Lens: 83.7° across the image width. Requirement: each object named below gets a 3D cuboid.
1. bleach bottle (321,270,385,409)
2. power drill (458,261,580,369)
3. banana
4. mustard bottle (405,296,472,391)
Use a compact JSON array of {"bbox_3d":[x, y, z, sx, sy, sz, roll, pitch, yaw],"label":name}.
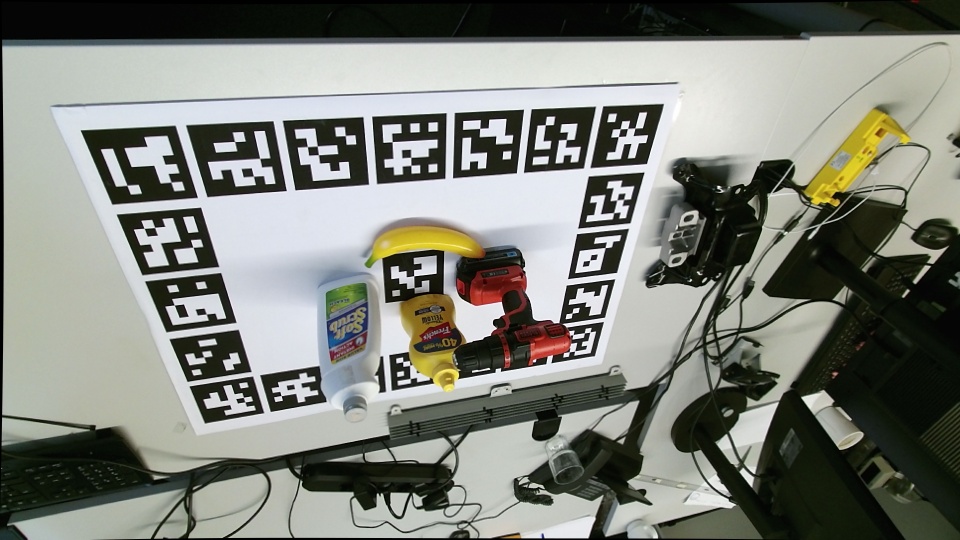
[{"bbox_3d":[-0.179,0.099,0.789,0.103,0.250,0.068,-14,126,-9],"label":"bleach bottle"},{"bbox_3d":[0.044,0.070,0.846,0.185,0.186,0.057,-8,133,-10],"label":"power drill"},{"bbox_3d":[-0.079,-0.037,0.845,0.198,0.038,0.074,-5,122,-17],"label":"banana"},{"bbox_3d":[-0.063,0.121,0.871,0.096,0.190,0.058,-6,126,-13],"label":"mustard bottle"}]
